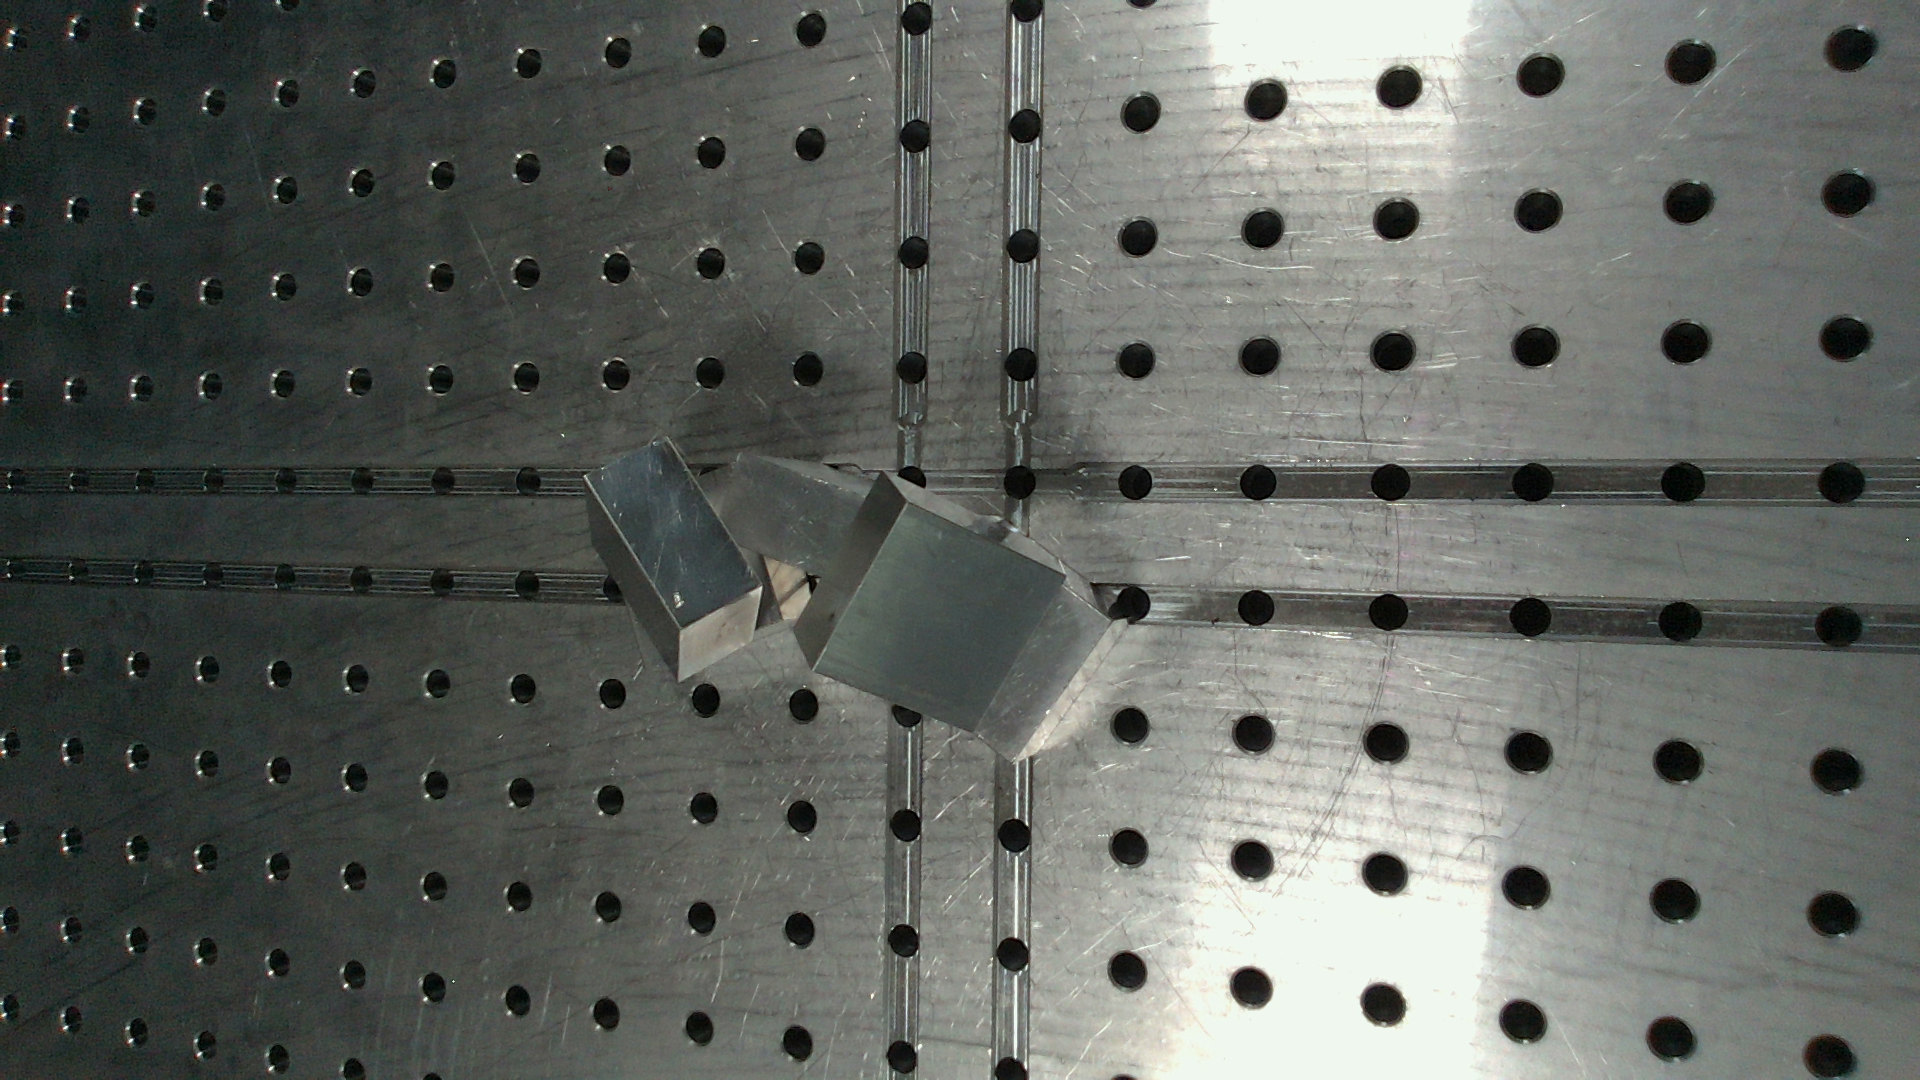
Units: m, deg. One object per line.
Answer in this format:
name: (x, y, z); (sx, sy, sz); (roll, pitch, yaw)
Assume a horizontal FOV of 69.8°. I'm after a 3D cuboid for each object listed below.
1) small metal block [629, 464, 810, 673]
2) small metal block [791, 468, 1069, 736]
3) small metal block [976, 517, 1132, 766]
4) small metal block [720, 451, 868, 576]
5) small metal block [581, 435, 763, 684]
small metal block: (-0.078, 0.009, 0.427); (0.050, 0.025, 0.050); (-21, 83, 19)
small metal block: (-0.008, 0.017, 0.360); (0.050, 0.025, 0.050); (25, 101, -27)
small metal block: (0.013, 0.028, 0.394); (0.050, 0.025, 0.050); (37, 102, 16)
small metal block: (-0.034, -0.005, 0.398); (0.050, 0.050, 0.025); (20, 97, 19)
small metal block: (-0.081, 0.007, 0.385); (0.025, 0.050, 0.050); (-30, 77, -21)
